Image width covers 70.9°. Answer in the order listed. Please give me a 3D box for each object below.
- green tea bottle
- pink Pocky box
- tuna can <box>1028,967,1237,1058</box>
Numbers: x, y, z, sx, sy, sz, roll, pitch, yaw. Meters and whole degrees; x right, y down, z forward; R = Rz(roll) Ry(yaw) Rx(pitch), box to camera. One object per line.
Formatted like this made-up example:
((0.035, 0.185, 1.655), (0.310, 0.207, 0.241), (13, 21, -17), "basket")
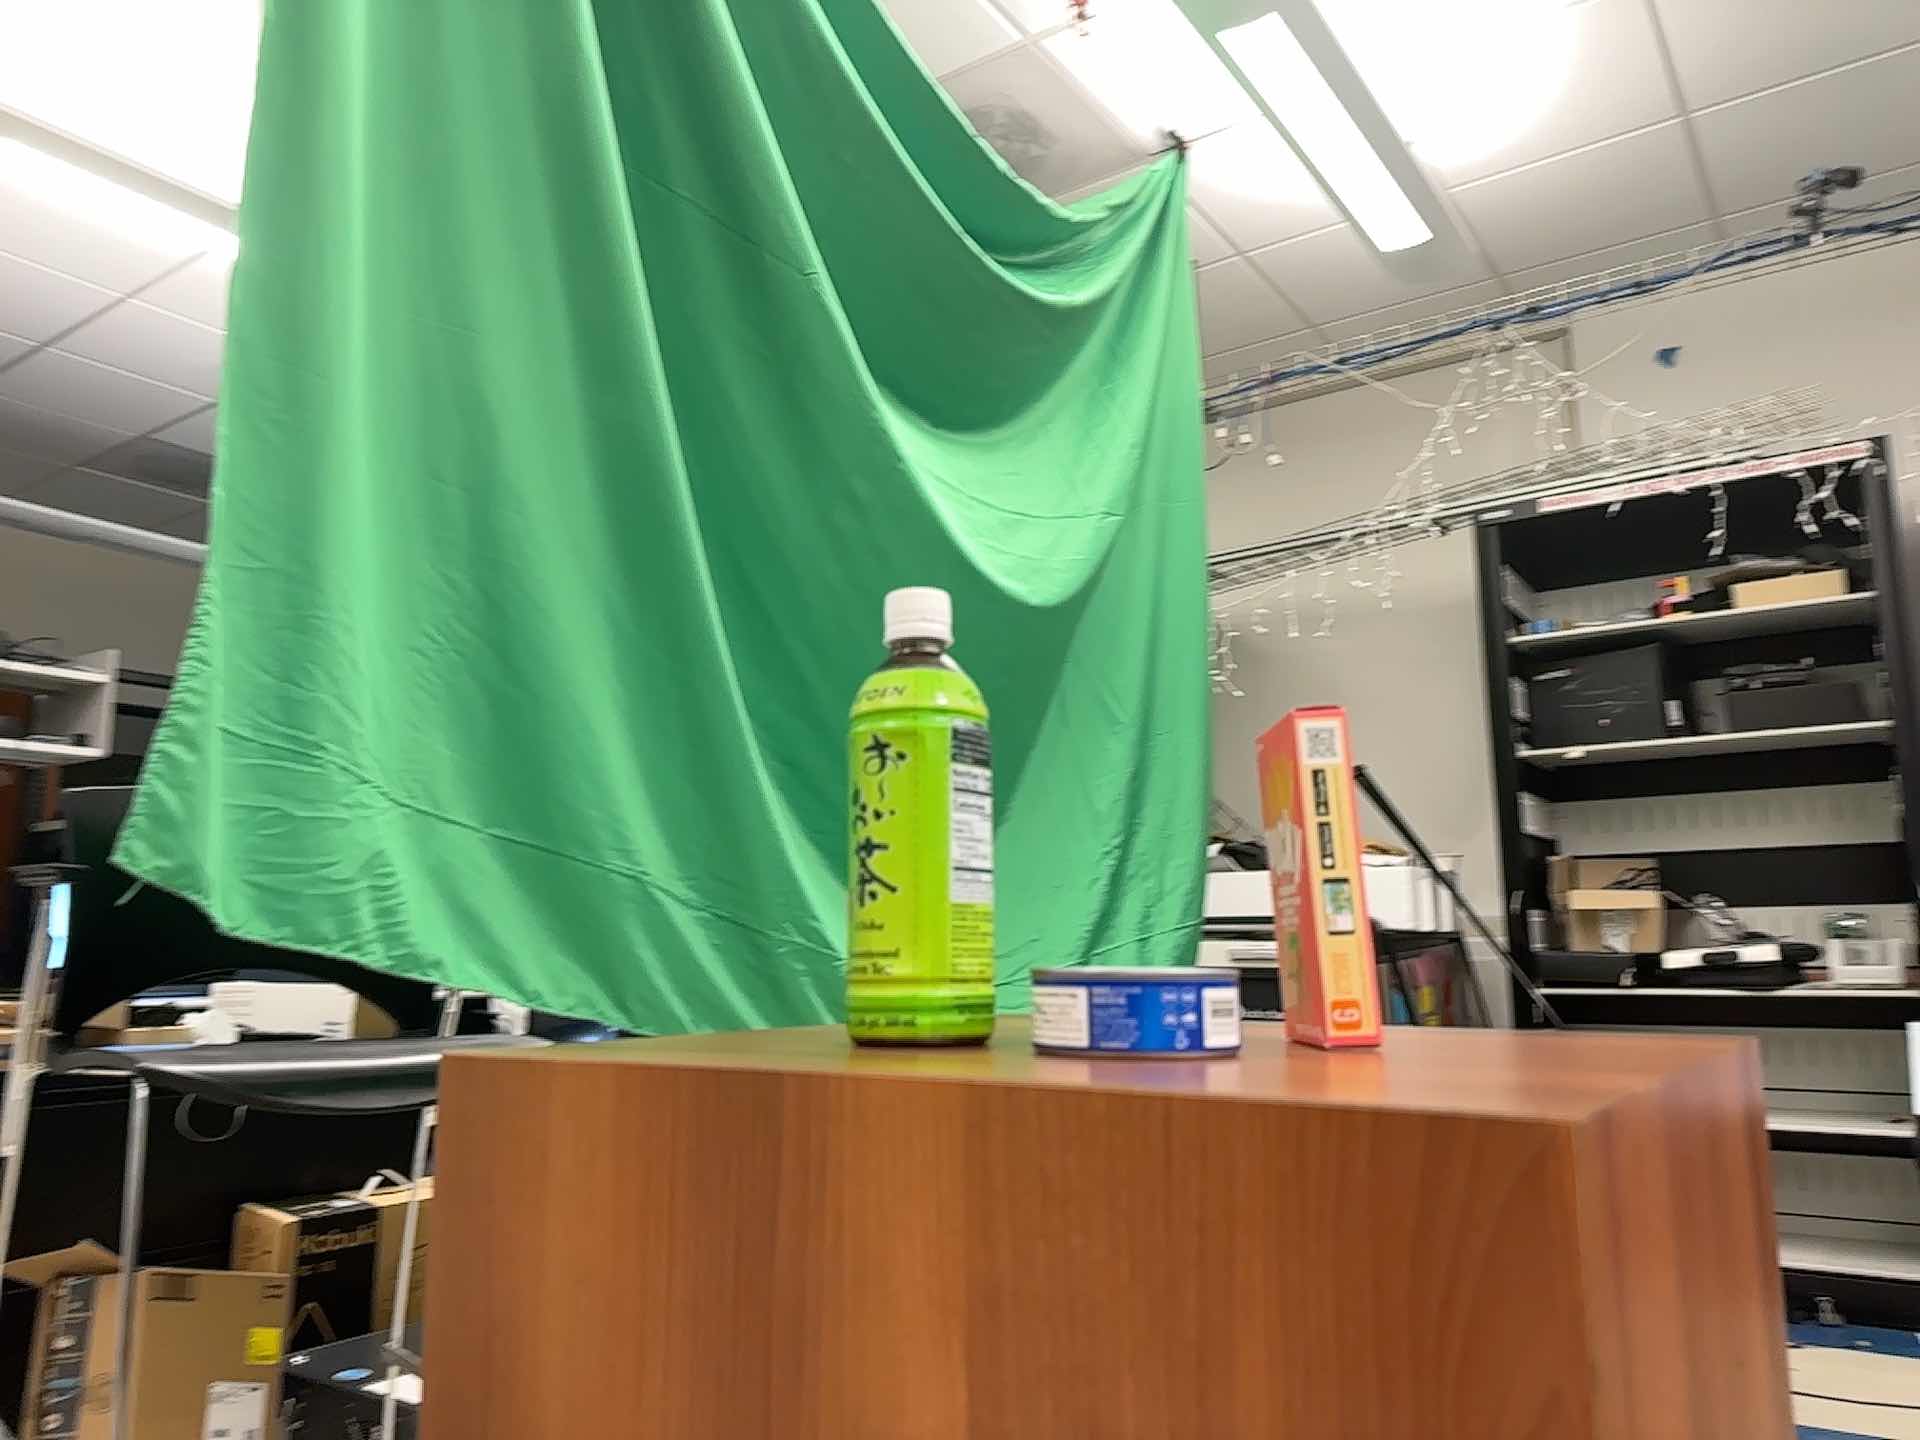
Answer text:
((-0.022, 0.043, 0.614), (0.073, 0.212, 0.073), (-1, -11, 0), "green tea bottle")
((0.162, 0.071, 0.629), (0.029, 0.155, 0.084), (-3, -9, -1), "pink Pocky box")
((0.070, 0.117, 0.547), (0.083, 0.034, 0.083), (0, -10, 0), "tuna can")
